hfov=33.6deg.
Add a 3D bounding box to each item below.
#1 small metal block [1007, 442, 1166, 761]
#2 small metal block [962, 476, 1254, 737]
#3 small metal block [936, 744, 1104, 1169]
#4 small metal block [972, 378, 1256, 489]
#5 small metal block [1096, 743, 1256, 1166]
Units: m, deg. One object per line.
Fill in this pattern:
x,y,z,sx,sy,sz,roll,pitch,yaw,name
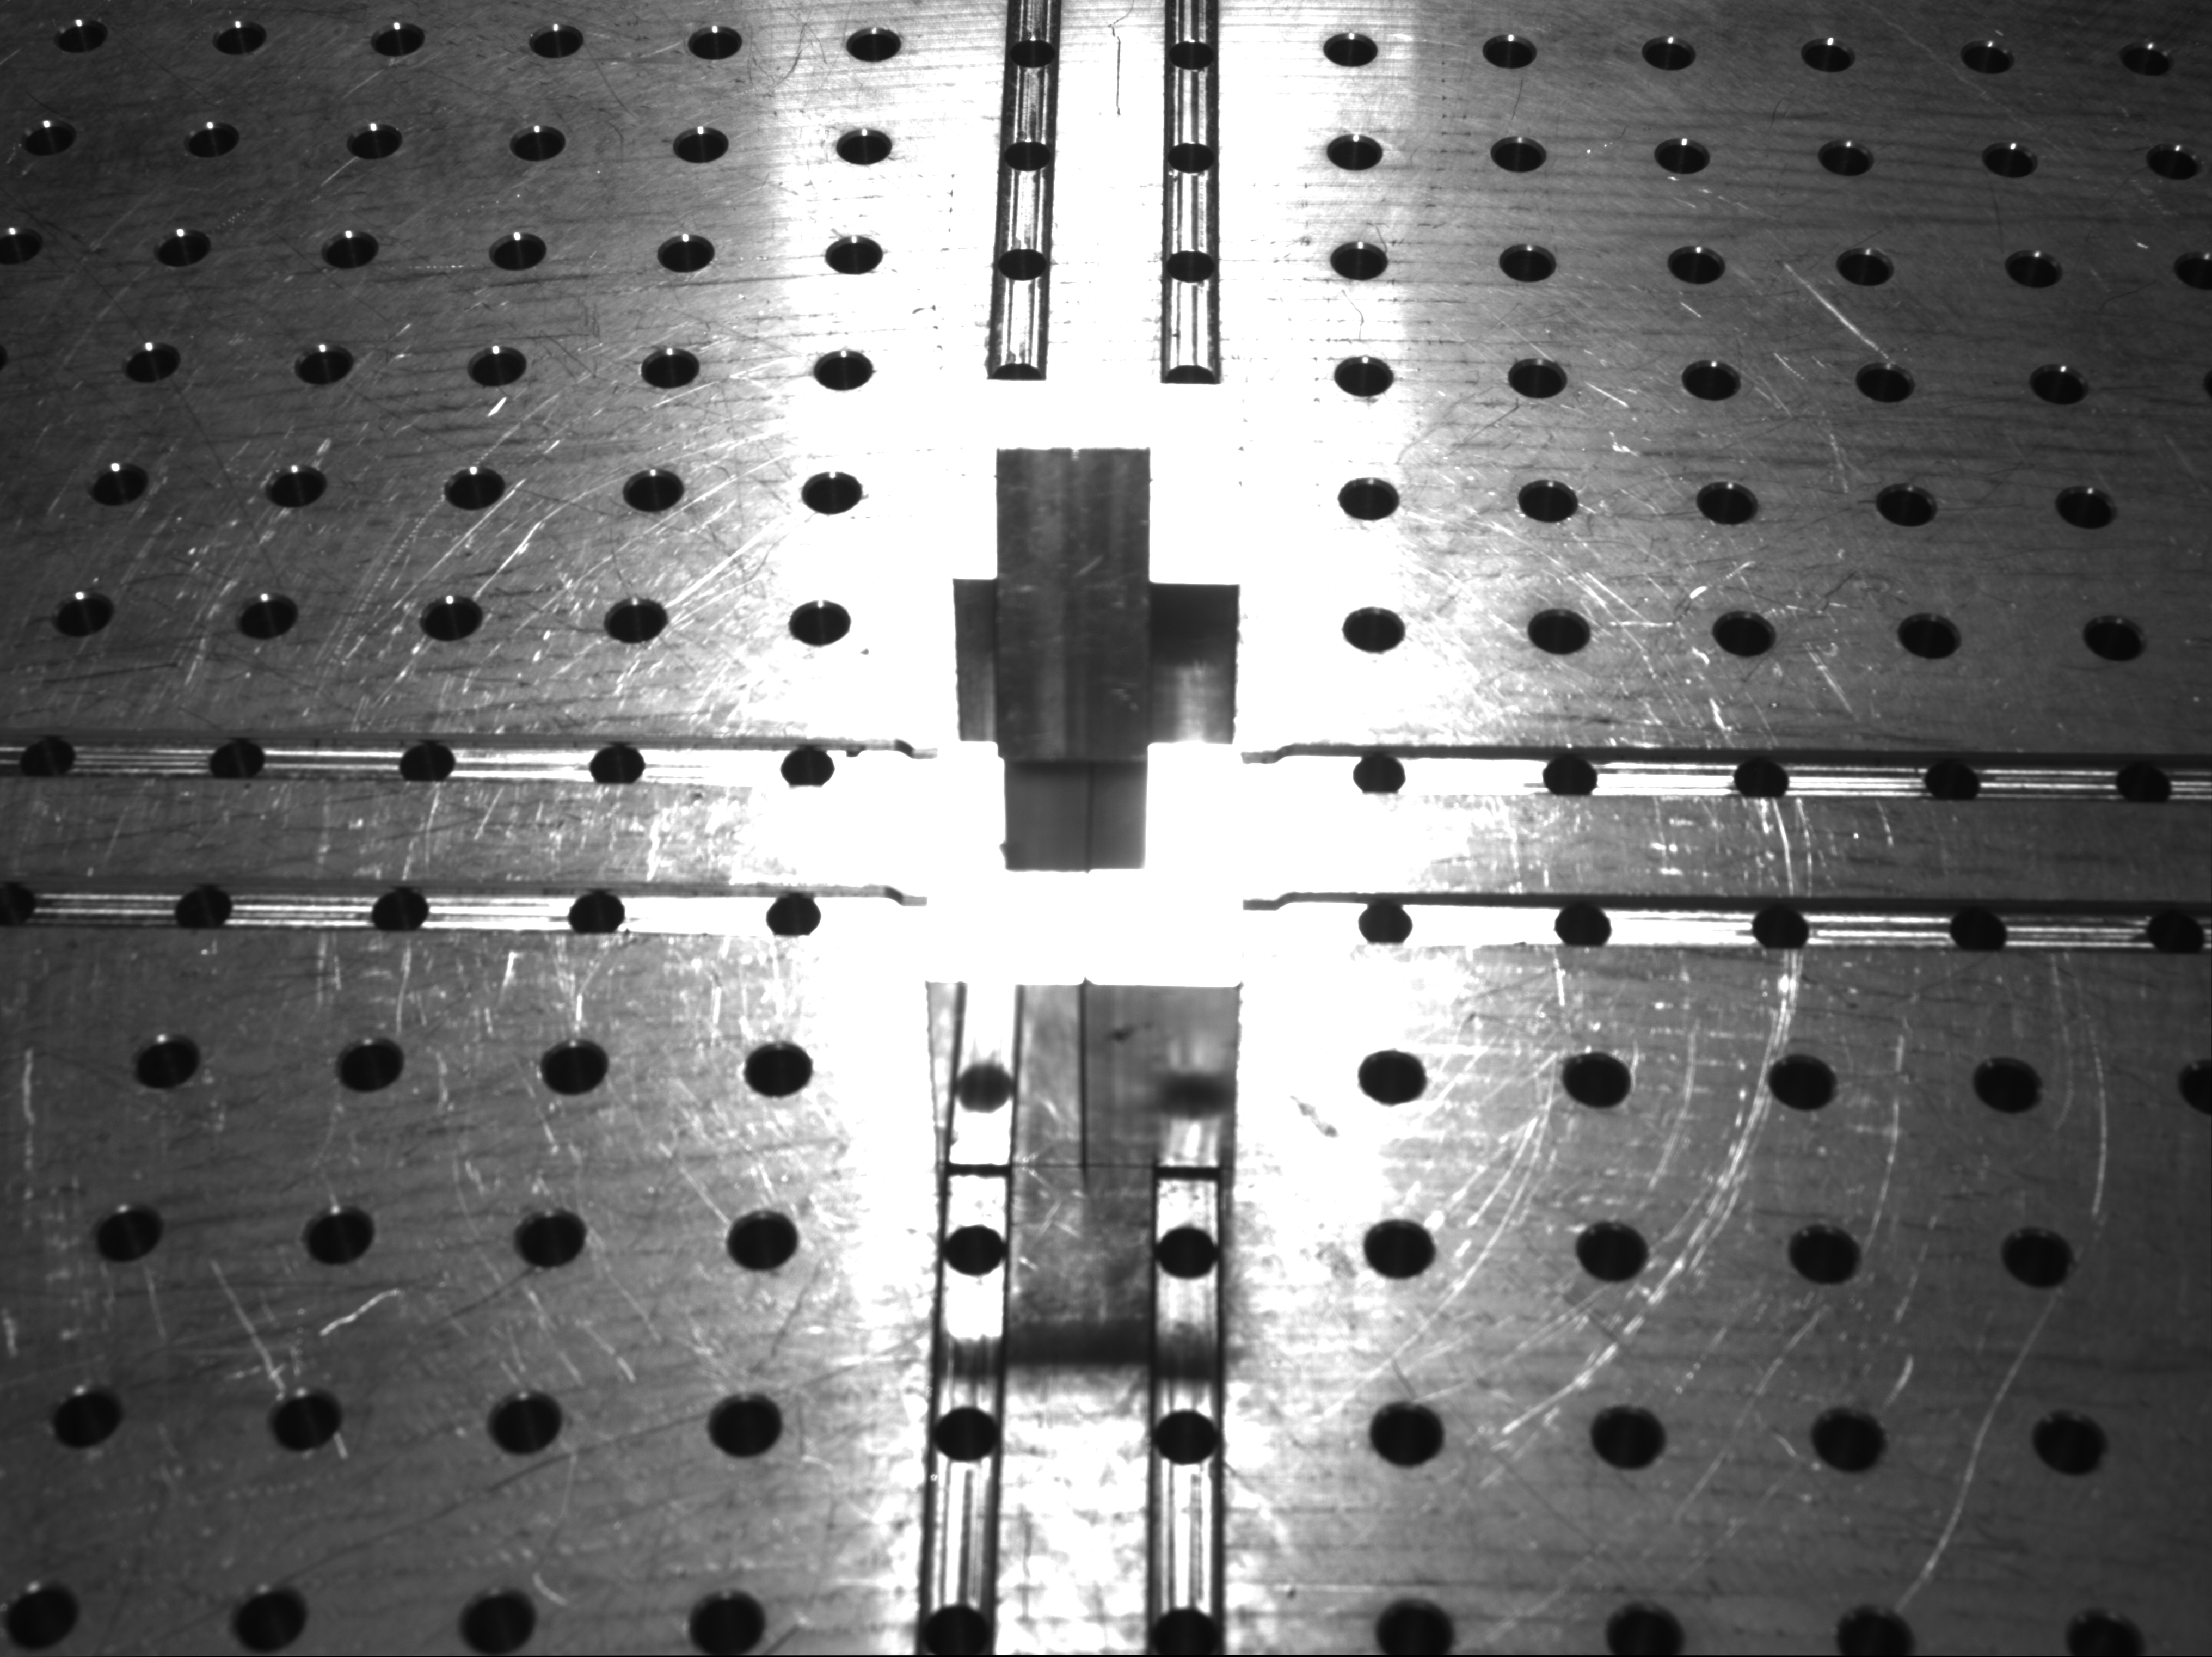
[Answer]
-0.003,-0.039,0.607,0.025,0.050,0.050,0,7,1,small metal block
0.001,-0.036,0.658,0.050,0.050,0.025,2,50,1,small metal block
-0.013,0.021,0.610,0.025,0.050,0.050,1,50,1,small metal block
0.002,-0.055,0.675,0.050,0.050,0.025,2,50,1,small metal block
0.012,0.021,0.609,0.025,0.050,0.050,1,50,1,small metal block
